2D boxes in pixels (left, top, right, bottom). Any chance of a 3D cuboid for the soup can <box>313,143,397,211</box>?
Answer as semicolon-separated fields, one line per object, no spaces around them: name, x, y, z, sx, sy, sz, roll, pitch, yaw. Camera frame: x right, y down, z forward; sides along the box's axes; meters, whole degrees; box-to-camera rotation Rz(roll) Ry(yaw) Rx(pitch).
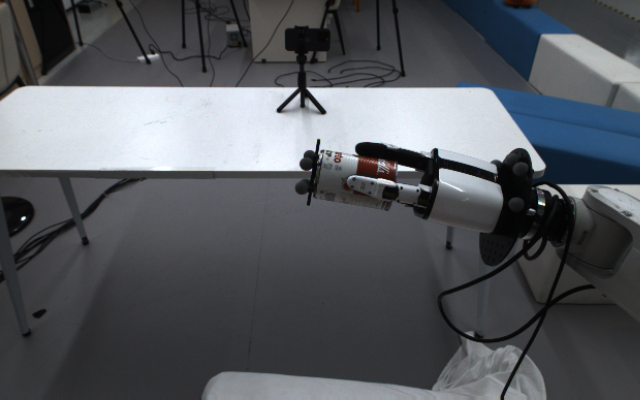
soup can;0.048;-0.027;0.645;0.101;0.067;0.067;9;35;0
